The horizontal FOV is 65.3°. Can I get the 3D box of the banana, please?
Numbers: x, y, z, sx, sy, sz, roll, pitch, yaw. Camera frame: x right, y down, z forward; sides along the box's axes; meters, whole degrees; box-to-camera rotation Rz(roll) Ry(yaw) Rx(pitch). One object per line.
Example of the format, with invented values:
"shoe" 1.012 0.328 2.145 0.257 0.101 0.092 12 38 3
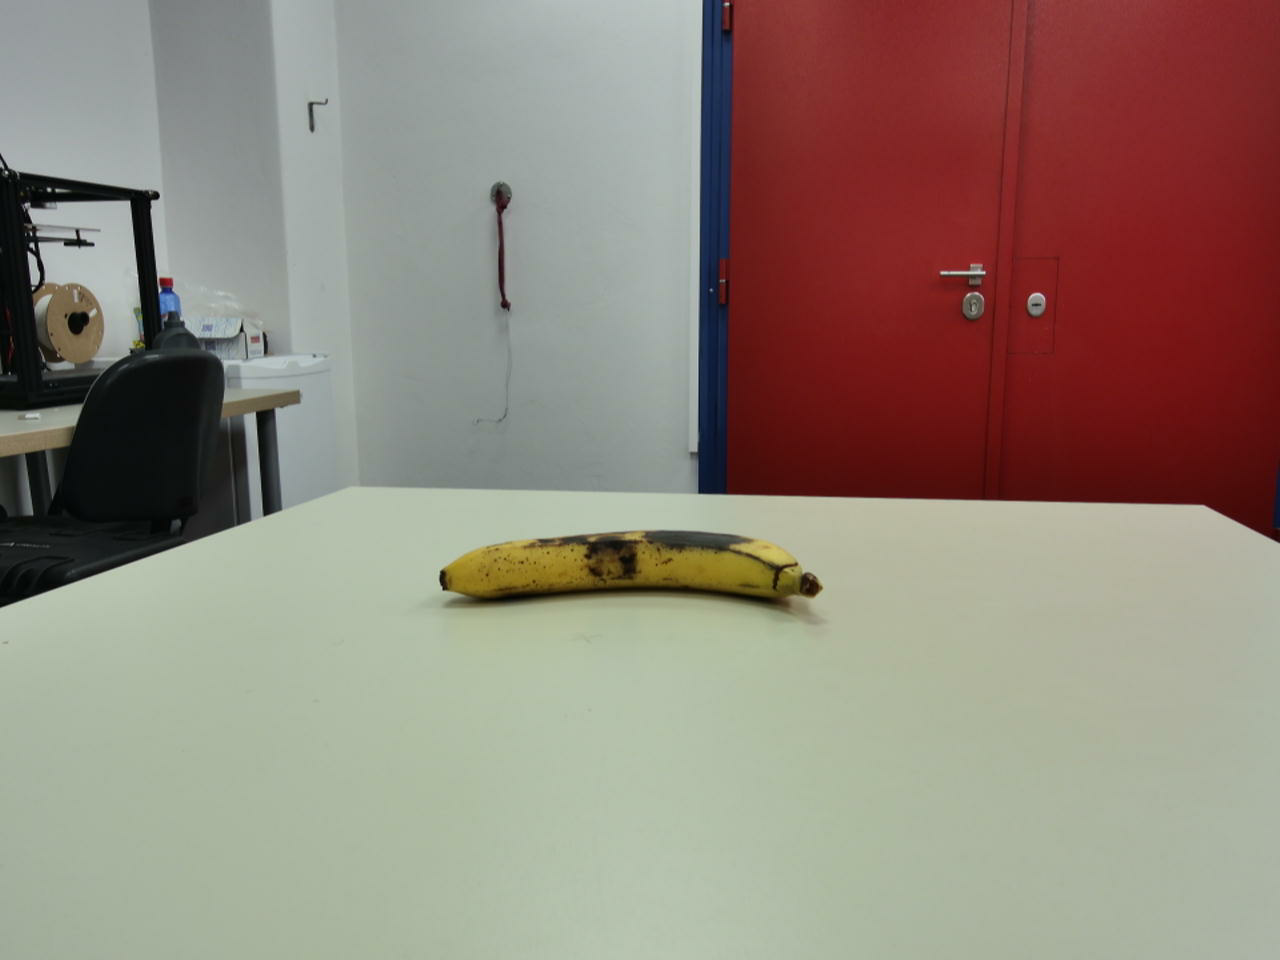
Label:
"banana" -0.003 0.052 0.599 0.222 0.037 0.084 1 7 12
